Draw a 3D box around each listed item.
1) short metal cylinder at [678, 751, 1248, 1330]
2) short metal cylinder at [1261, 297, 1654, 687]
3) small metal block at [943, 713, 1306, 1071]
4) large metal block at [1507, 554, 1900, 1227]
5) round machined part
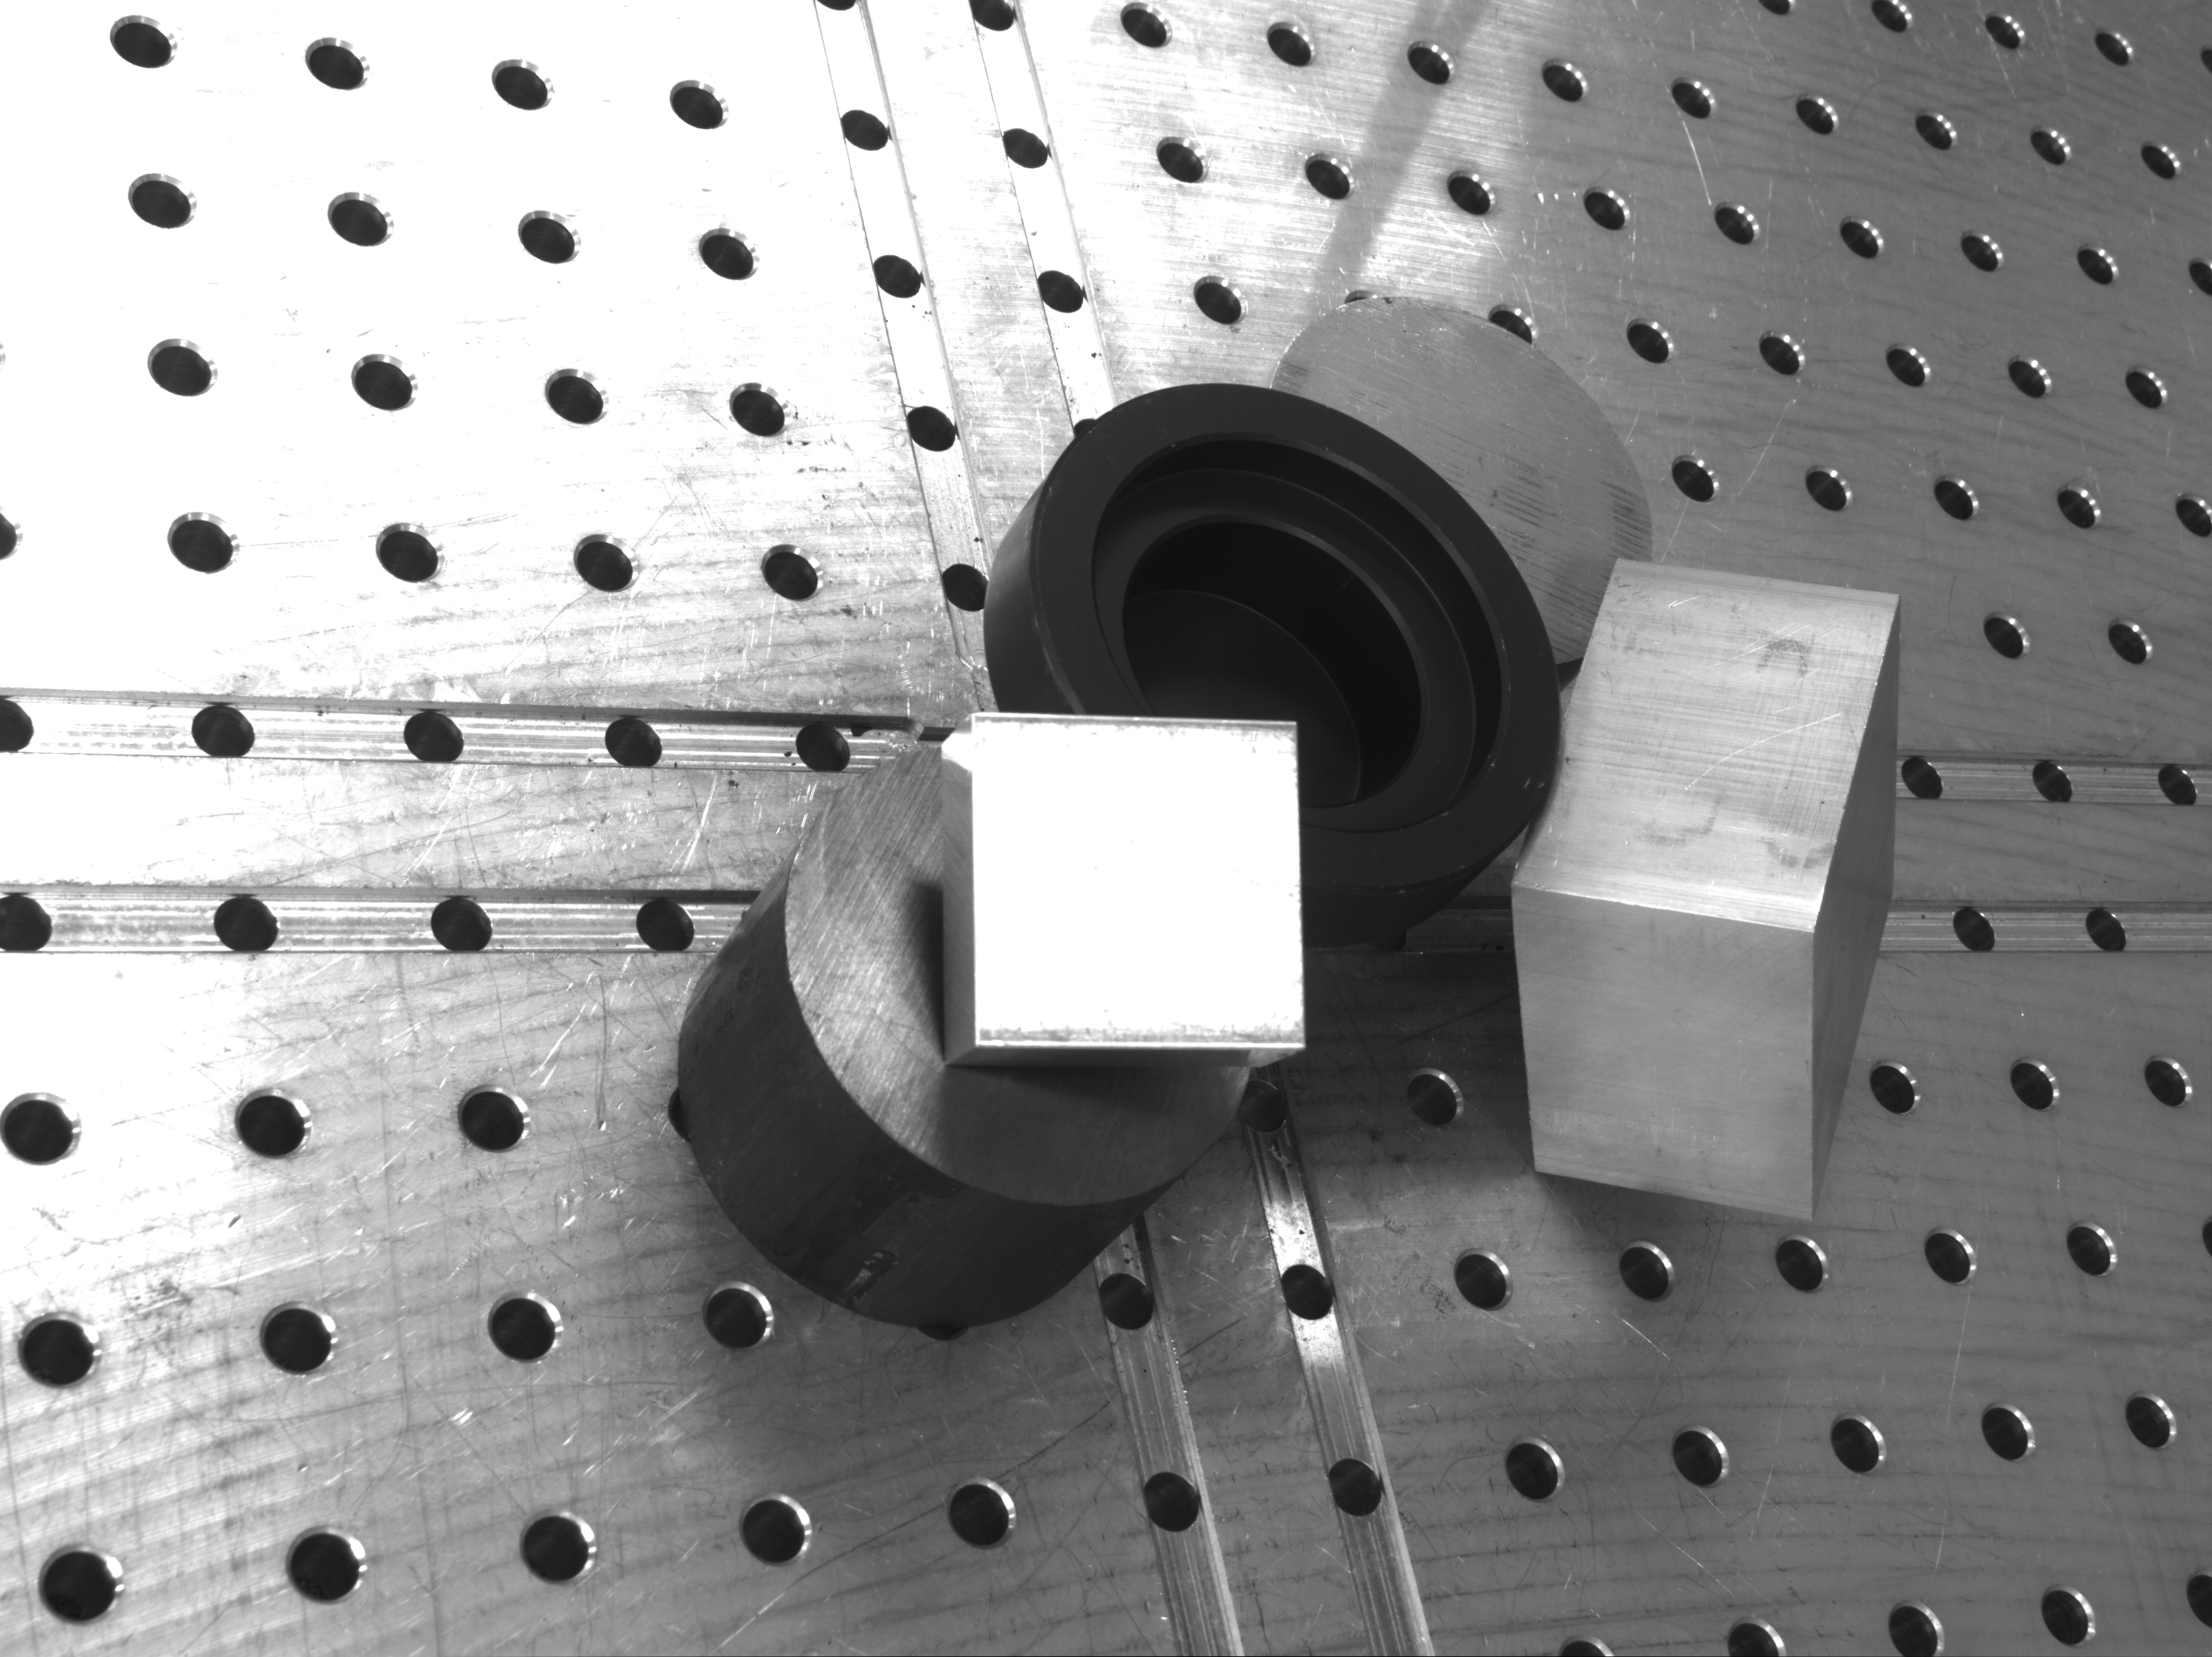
[{"bbox_3d":[-0.023,0.034,0.593,0.080,0.050,0.080,13,56,-21],"label":"short metal cylinder"},{"bbox_3d":[0.055,-0.052,0.687,0.080,0.050,0.080,13,56,-21],"label":"short metal cylinder"},{"bbox_3d":[0.002,0.010,0.557,0.050,0.025,0.050,1,80,-14],"label":"small metal block"},{"bbox_3d":[0.107,0.011,0.650,0.050,0.080,0.080,9,50,18],"label":"large metal block"},{"bbox_3d":[0.024,-0.023,0.621,0.098,0.042,0.098,13,56,-21],"label":"round machined part"}]
